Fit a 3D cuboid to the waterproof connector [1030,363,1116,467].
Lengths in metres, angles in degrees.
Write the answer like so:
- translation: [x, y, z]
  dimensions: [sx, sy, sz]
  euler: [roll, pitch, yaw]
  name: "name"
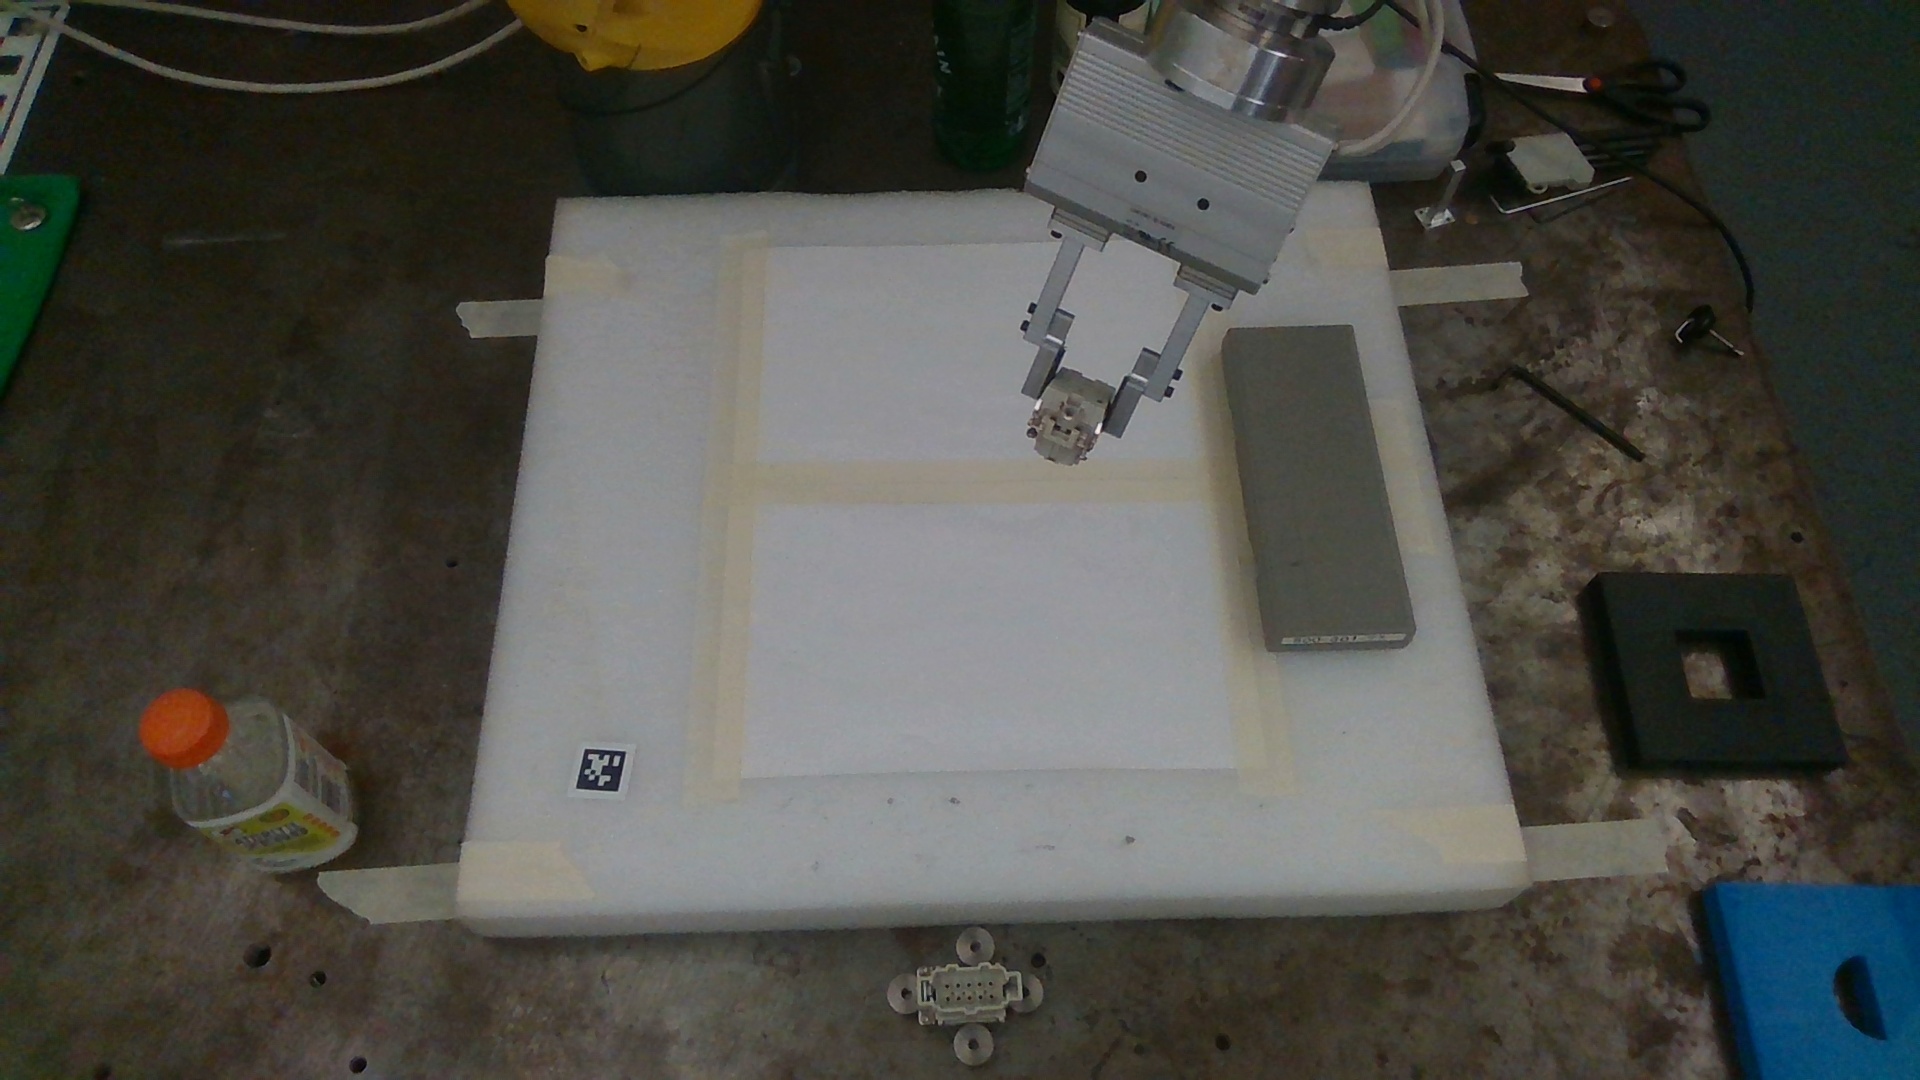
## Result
- translation: [0.055, -0.063, 0.707]
  dimensions: [0.037, 0.038, 0.069]
  euler: [24, 21, 1]
  name: "waterproof connector"
